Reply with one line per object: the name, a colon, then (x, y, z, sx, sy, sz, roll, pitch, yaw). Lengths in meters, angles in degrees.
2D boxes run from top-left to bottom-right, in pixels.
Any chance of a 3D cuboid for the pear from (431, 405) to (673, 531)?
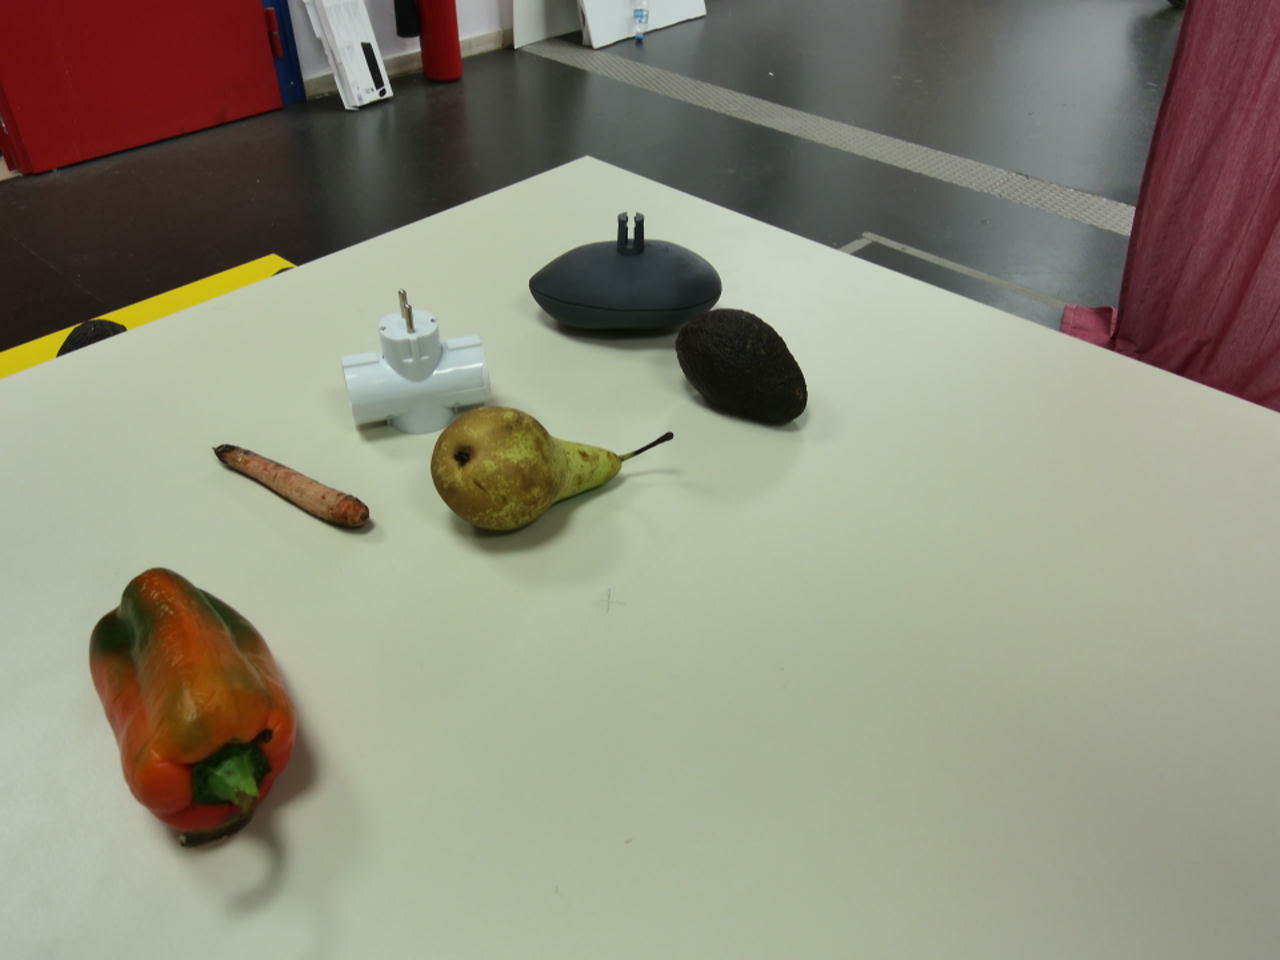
pear: (-0.056, -0.020, 0.590, 0.144, 0.075, 0.071, -29, 46, -32)
